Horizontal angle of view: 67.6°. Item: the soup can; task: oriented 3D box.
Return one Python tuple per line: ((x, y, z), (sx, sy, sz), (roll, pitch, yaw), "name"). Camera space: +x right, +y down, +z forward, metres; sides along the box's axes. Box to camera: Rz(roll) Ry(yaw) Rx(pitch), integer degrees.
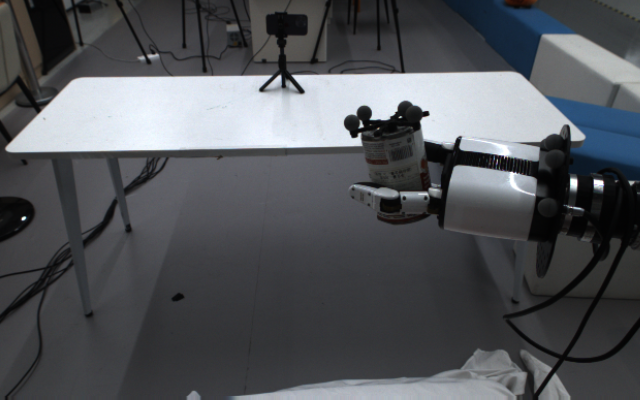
((0.090, -0.031, 0.541), (0.067, 0.101, 0.067), (-13, 20, 5), "soup can")
